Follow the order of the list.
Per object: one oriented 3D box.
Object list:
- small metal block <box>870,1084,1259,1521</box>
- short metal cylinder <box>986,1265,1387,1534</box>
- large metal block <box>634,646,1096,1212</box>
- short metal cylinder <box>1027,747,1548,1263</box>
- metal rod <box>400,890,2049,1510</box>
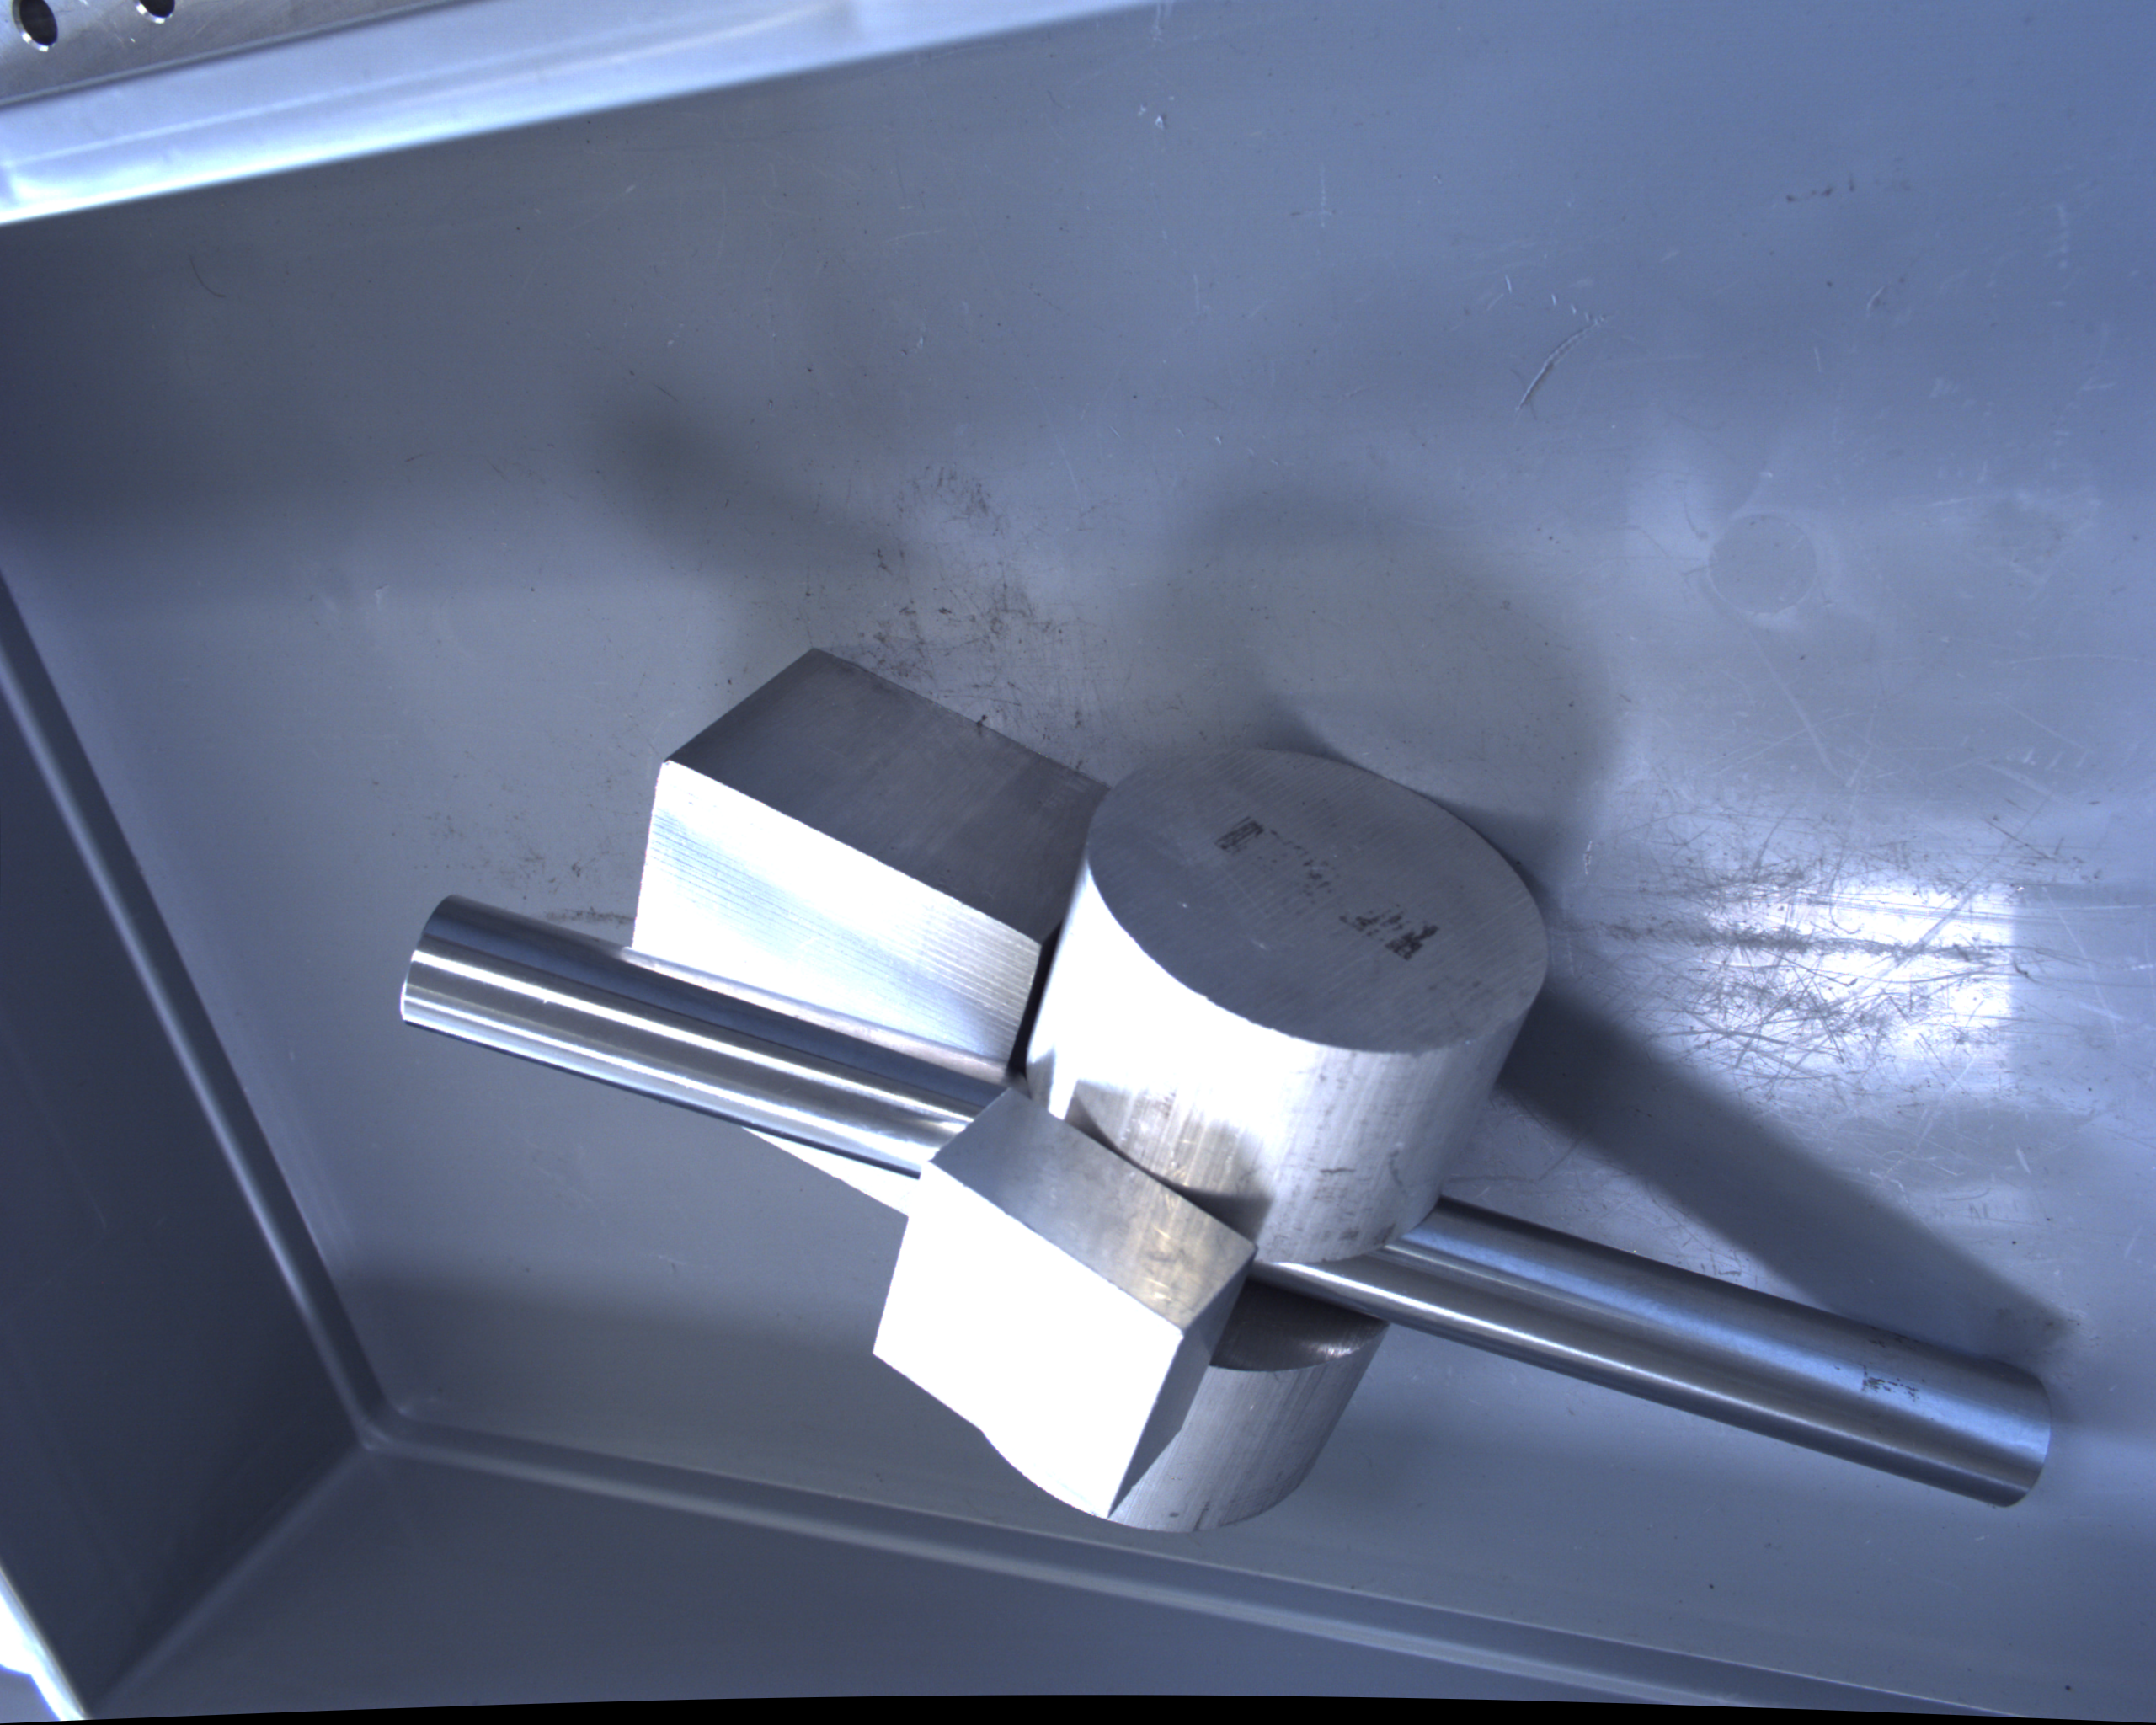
[{"bbox_3d":[-0.003,0.074,0.352,0.050,0.025,0.050,31,129,18],"label":"small metal block"},{"bbox_3d":[0.019,0.083,0.412,0.080,0.080,0.050,27,128,11],"label":"short metal cylinder"},{"bbox_3d":[-0.040,0.016,0.419,0.080,0.050,0.079,26,128,12],"label":"large metal block"},{"bbox_3d":[0.035,0.023,0.367,0.080,0.080,0.050,25,127,13],"label":"short metal cylinder"},{"bbox_3d":[0.027,0.061,0.379,0.302,0.025,0.025,17,127,-1],"label":"metal rod"}]
